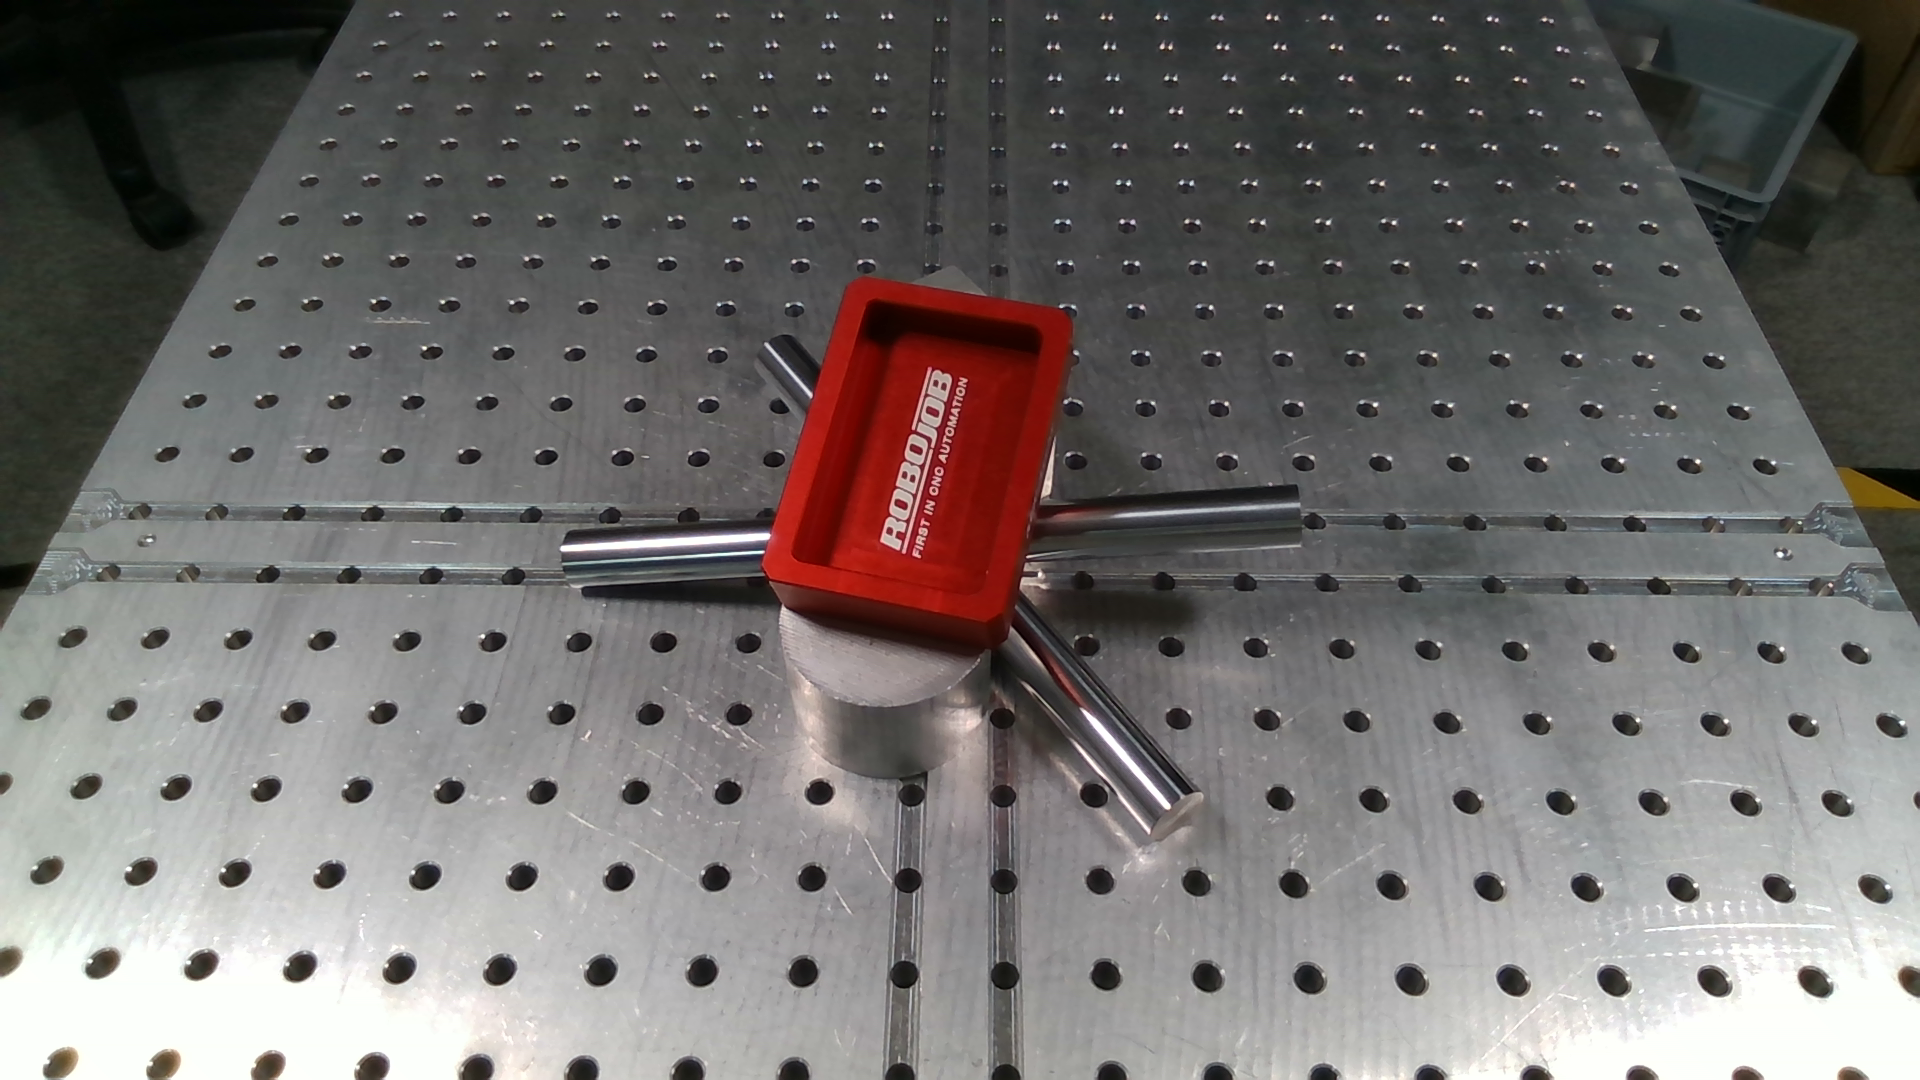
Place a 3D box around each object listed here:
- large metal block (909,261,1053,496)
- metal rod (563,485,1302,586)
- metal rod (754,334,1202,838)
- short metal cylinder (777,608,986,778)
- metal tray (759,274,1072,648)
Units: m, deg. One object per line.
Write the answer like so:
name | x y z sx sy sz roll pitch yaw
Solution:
large metal block | -0.002 -0.061 0.604 0.050 0.080 0.080 -28 55 -21
metal rod | -0.016 -0.001 0.561 0.300 0.025 0.025 -3 50 9
metal rod | -0.005 0.006 0.585 0.025 0.025 0.299 -27 55 -21
short metal cylinder | -0.028 0.045 0.535 0.080 0.050 0.080 0 50 0
metal tray | -0.014 -0.032 0.521 0.090 0.030 0.130 11 70 9
